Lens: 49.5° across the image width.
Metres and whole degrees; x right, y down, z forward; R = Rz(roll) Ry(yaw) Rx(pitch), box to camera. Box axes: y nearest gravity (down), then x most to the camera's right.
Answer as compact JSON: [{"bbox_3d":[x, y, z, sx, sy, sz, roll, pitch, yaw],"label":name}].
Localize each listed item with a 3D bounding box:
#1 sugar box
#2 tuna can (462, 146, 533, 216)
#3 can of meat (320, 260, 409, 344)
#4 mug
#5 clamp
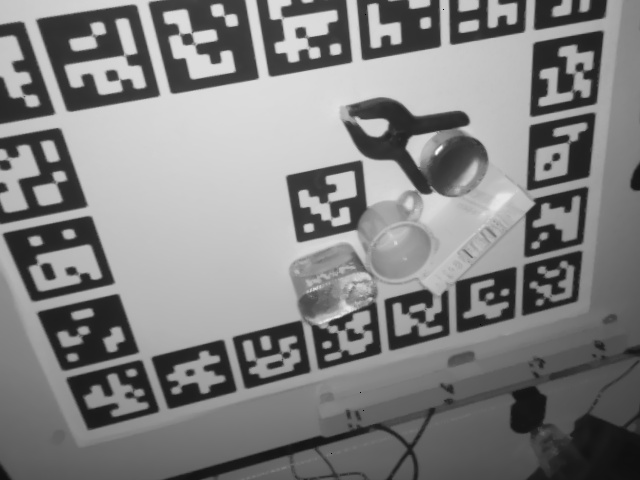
[{"bbox_3d":[0.239,0.010,0.909,0.175,0.093,0.045,-45,119,13],"label":"sugar box"},{"bbox_3d":[0.226,-0.077,0.888,0.086,0.034,0.085,-6,116,-11],"label":"tuna can"},{"bbox_3d":[0.054,0.078,0.904,0.102,0.084,0.057,-19,121,-2],"label":"can of meat"},{"bbox_3d":[0.147,0.017,0.887,0.094,0.081,0.116,11,112,-18],"label":"mug"},{"bbox_3d":[0.142,-0.111,0.856,0.166,0.037,0.120,22,114,-18],"label":"clamp"}]
